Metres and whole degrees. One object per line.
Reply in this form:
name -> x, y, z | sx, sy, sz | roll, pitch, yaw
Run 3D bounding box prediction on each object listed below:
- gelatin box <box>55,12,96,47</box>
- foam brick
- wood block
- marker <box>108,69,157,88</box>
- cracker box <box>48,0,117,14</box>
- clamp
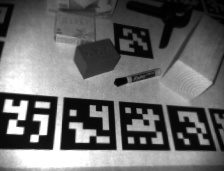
gelatin box -> -0.083, -0.127, 0.497 | 0.090, 0.030, 0.073 | 4, 64, -16
foam brick -> -0.037, -0.057, 0.460 | 0.079, 0.051, 0.052 | -20, 72, -25
wood block -> 0.209, -0.077, 0.530 | 0.089, 0.091, 0.207 | 34, 56, 5
marker -> 0.047, -0.017, 0.483 | 0.122, 0.019, 0.019 | -15, 70, -23
cracker box -> -0.049, -0.260, 0.461 | 0.165, 0.213, 0.071 | 1, 62, -18
clamp -> 0.160, -0.203, 0.606 | 0.204, 0.036, 0.164 | -26, 75, -27
